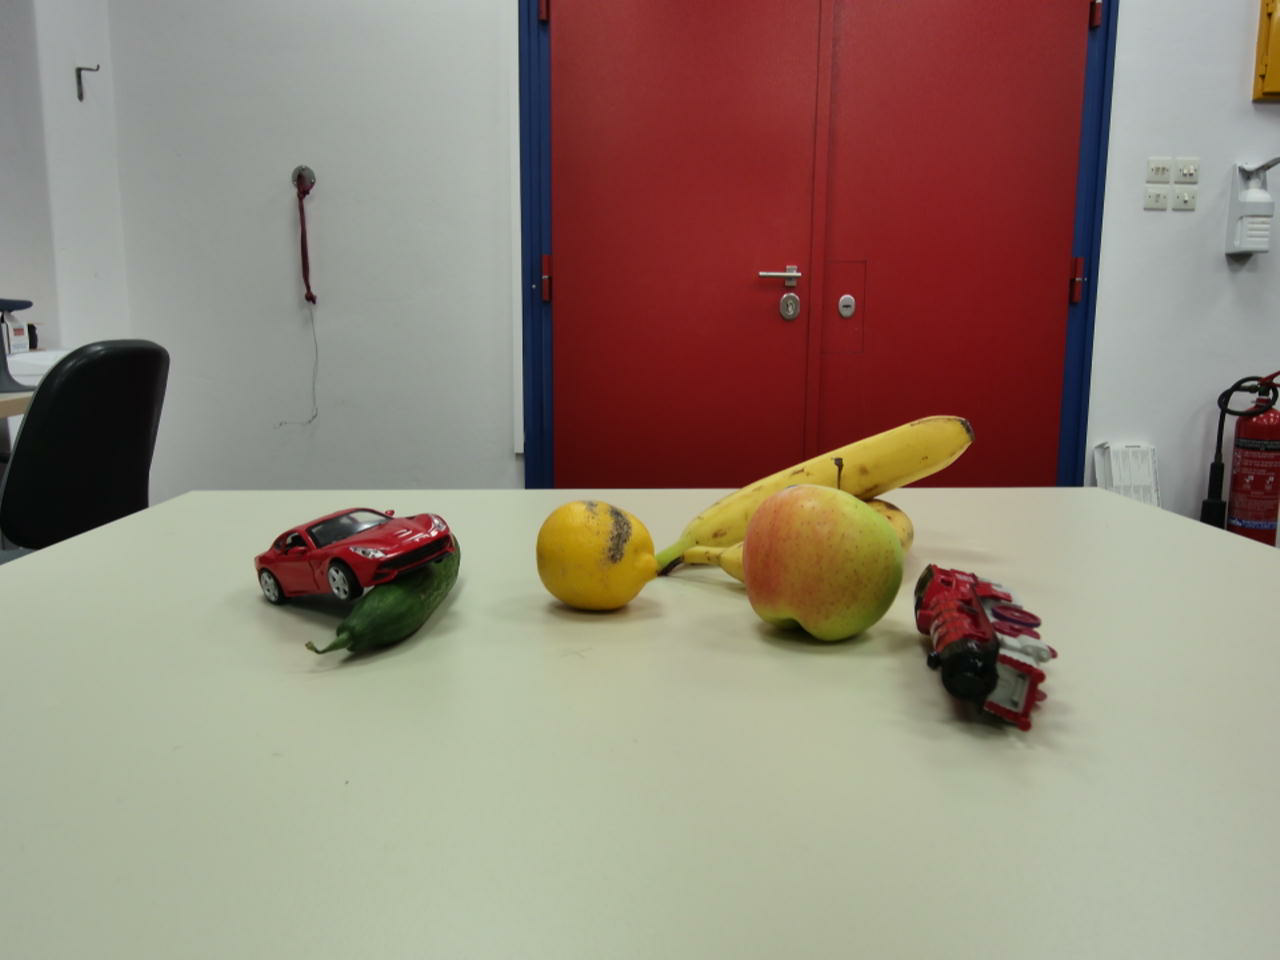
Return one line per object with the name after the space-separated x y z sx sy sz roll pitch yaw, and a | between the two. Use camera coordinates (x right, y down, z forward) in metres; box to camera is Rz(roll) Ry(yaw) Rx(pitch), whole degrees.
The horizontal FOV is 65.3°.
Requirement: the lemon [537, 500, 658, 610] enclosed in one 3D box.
-0.023 0.039 0.521 0.061 0.056 0.058 0 7 -8 | lemon
